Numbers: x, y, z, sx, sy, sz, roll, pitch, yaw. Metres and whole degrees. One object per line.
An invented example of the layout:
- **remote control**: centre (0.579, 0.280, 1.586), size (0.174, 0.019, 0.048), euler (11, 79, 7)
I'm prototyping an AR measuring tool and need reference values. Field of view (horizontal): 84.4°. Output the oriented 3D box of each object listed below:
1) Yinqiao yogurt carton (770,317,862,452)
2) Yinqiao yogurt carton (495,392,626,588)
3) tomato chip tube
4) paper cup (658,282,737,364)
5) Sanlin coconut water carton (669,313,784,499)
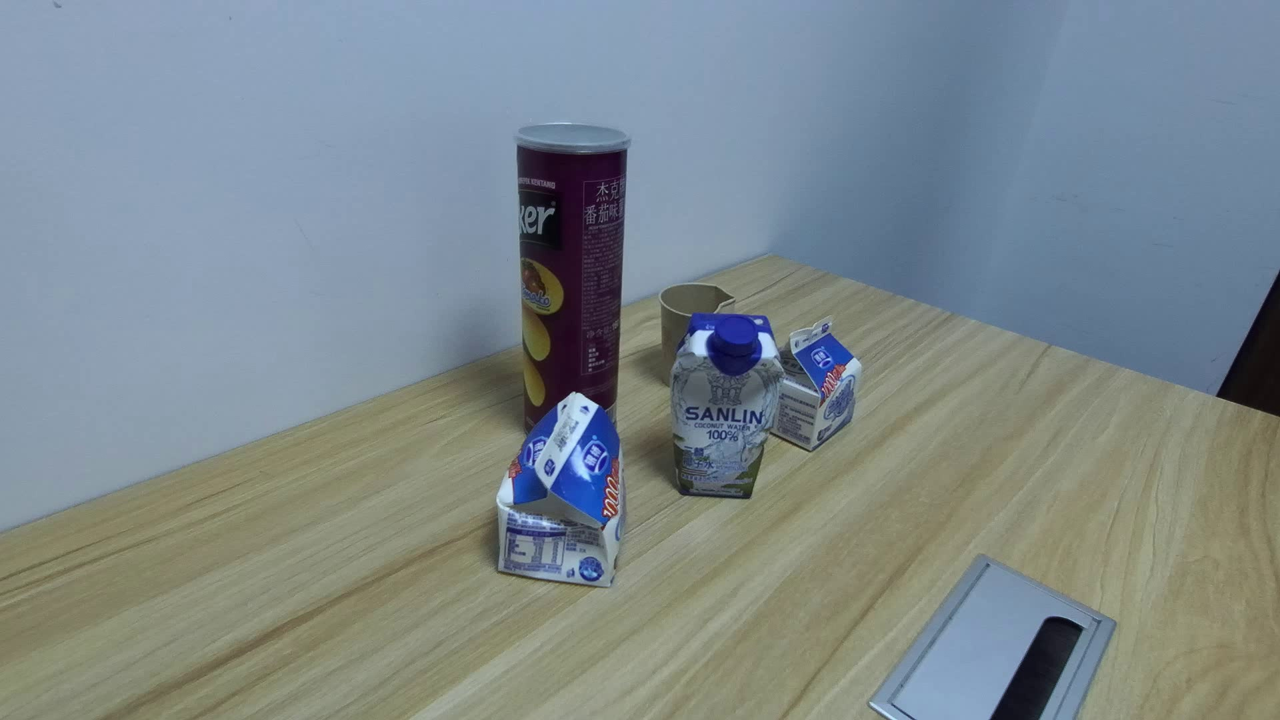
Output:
- **Yinqiao yogurt carton**: centre (0.137, 0.012, 0.589), size (0.073, 0.092, 0.076), euler (23, 32, 36)
- **Yinqiao yogurt carton**: centre (-0.046, 0.076, 0.444), size (0.077, 0.093, 0.083), euler (6, 29, 6)
- **tomato chip tube**: centre (-0.050, -0.049, 0.529), size (0.078, 0.234, 0.078), euler (2, 28, -1)
- **paper cup**: centre (0.048, -0.017, 0.624), size (0.073, 0.081, 0.069), euler (21, 34, 40)
- **Sanlin coconut water carton**: centre (0.058, 0.029, 0.494), size (0.078, 0.142, 0.057), euler (3, 33, -1)
